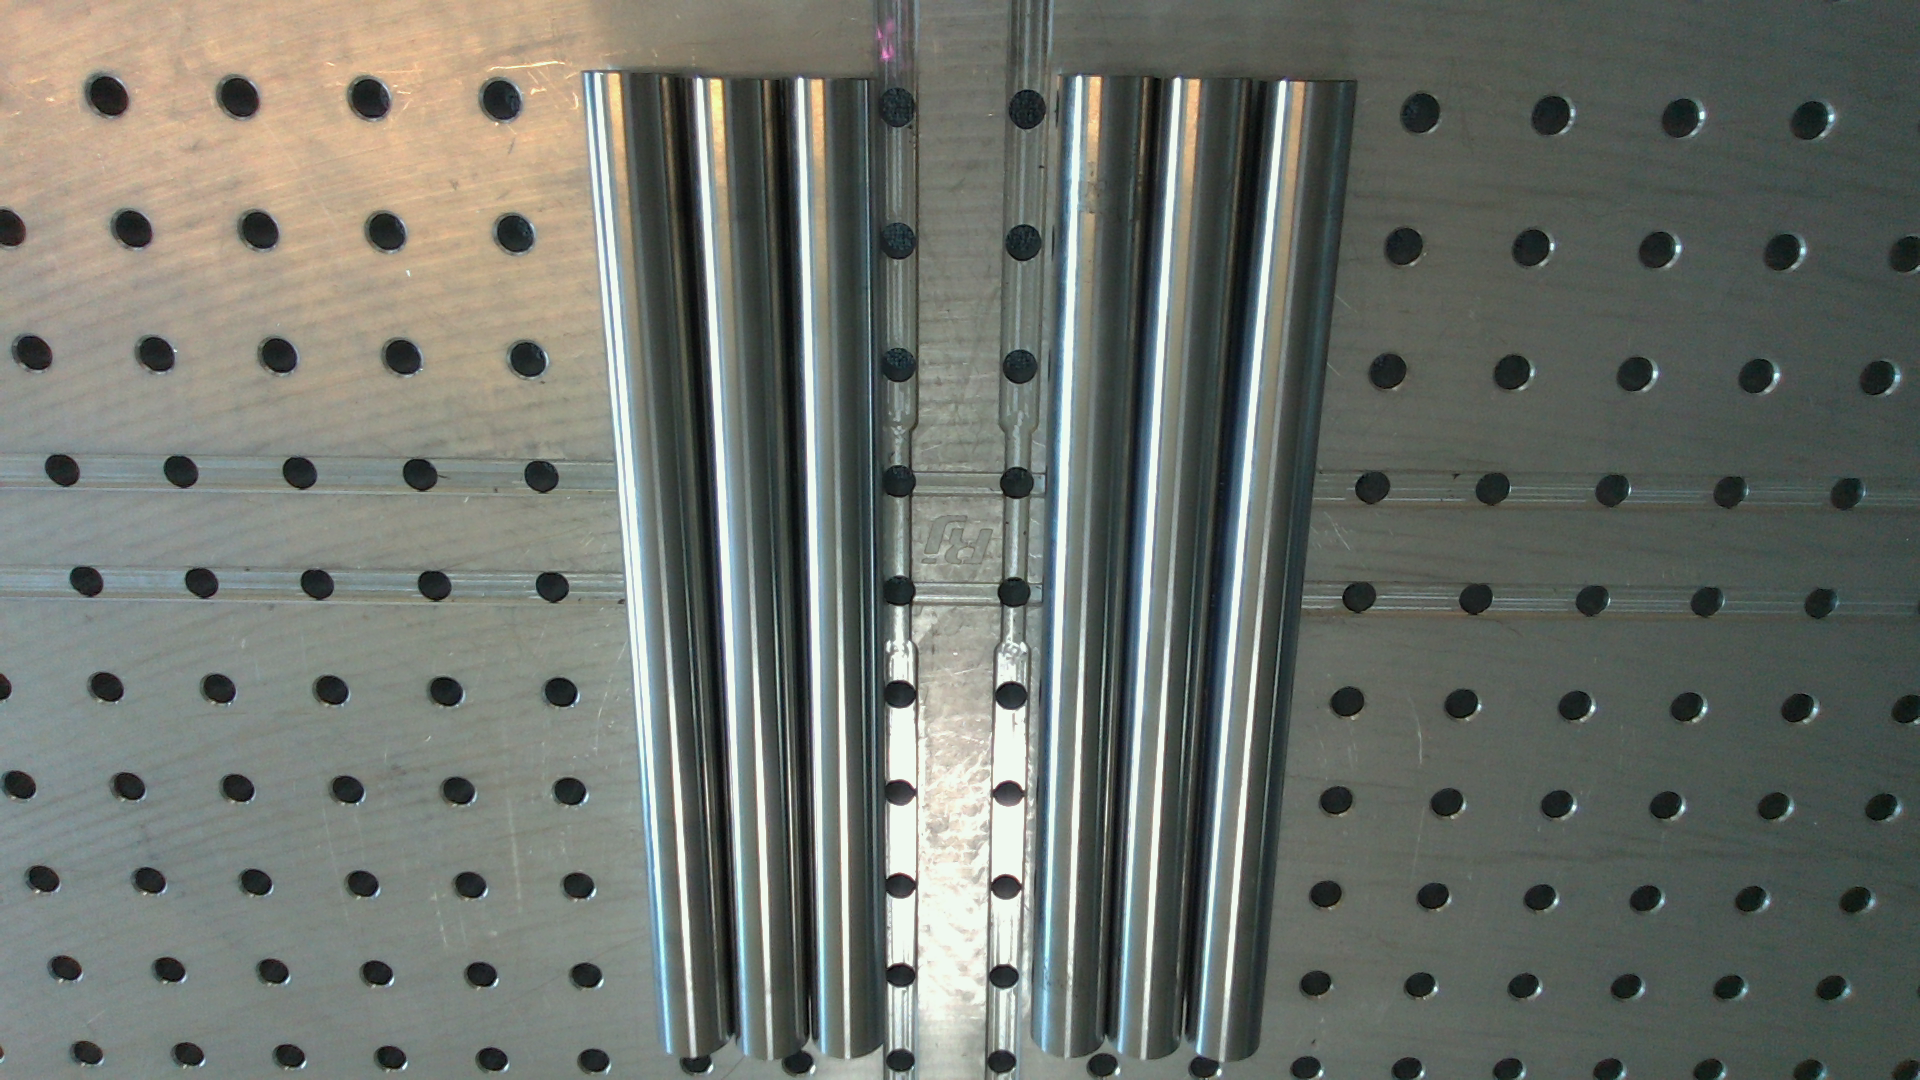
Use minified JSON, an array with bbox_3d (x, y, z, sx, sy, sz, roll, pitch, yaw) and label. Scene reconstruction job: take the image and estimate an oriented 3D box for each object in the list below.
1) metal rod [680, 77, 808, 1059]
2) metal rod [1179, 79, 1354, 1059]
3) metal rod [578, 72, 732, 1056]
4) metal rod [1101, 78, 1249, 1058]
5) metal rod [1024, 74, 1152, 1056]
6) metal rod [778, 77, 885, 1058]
[{"bbox_3d":[-0.061,0.022,0.404,0.025,0.025,0.300,1,110,0],"label":"metal rod"},{"bbox_3d":[0.087,0.023,0.405,0.025,0.025,0.300,1,110,0],"label":"metal rod"},{"bbox_3d":[-0.086,0.022,0.403,0.025,0.025,0.300,1,110,0],"label":"metal rod"},{"bbox_3d":[0.060,0.022,0.404,0.025,0.025,0.300,1,110,0],"label":"metal rod"},{"bbox_3d":[0.035,0.022,0.404,0.025,0.025,0.300,1,110,0],"label":"metal rod"},{"bbox_3d":[-0.036,0.022,0.404,0.025,0.025,0.300,1,110,0],"label":"metal rod"}]
